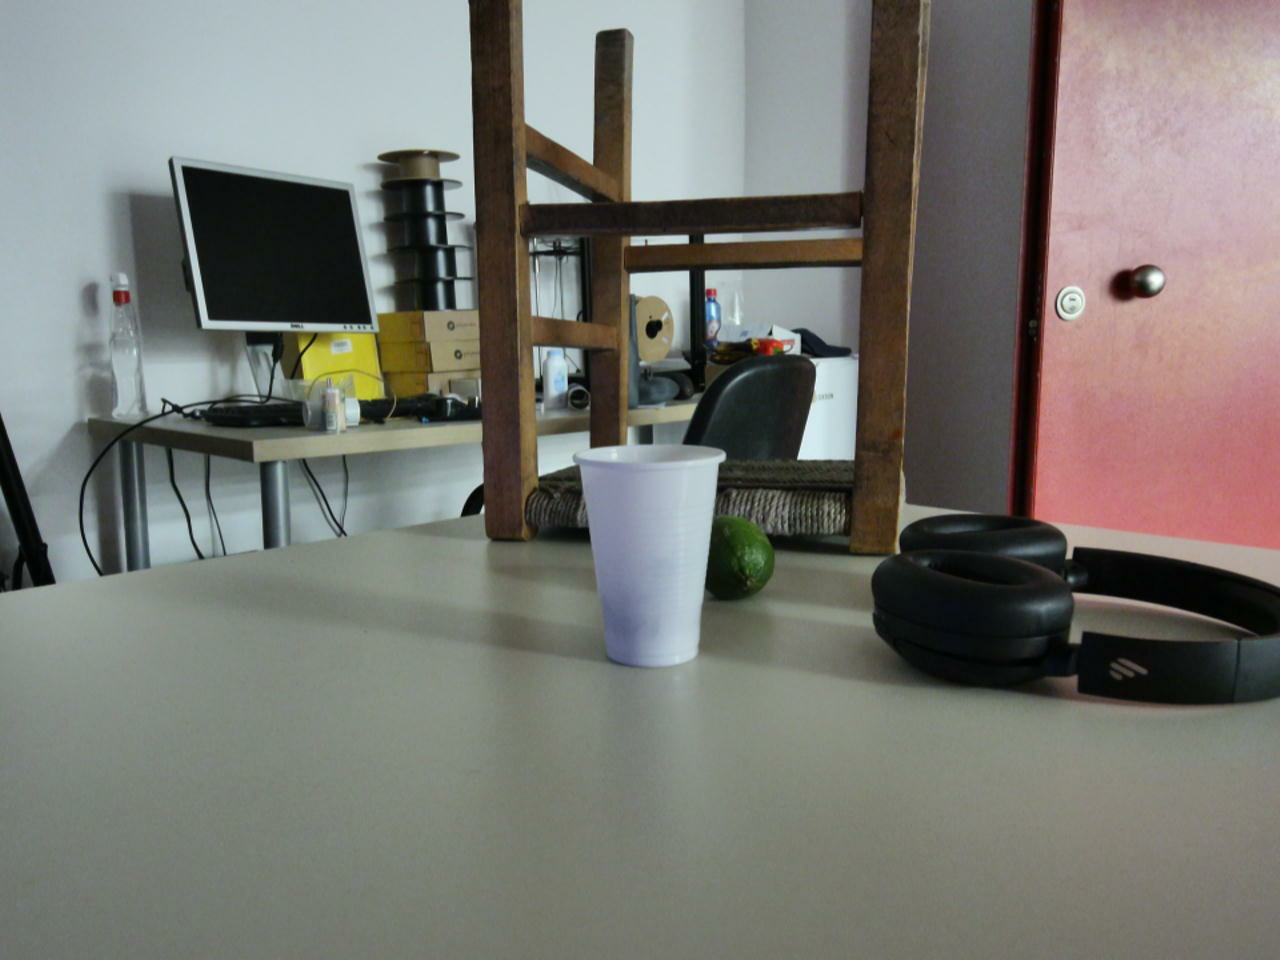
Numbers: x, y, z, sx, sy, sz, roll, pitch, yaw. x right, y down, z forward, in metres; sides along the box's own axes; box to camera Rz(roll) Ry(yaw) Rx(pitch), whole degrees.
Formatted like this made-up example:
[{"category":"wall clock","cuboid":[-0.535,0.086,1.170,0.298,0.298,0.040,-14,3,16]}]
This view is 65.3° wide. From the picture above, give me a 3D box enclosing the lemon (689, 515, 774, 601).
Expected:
[{"category":"lemon","cuboid":[0.058,0.048,0.626,0.057,0.051,0.054,7,9,43]}]
